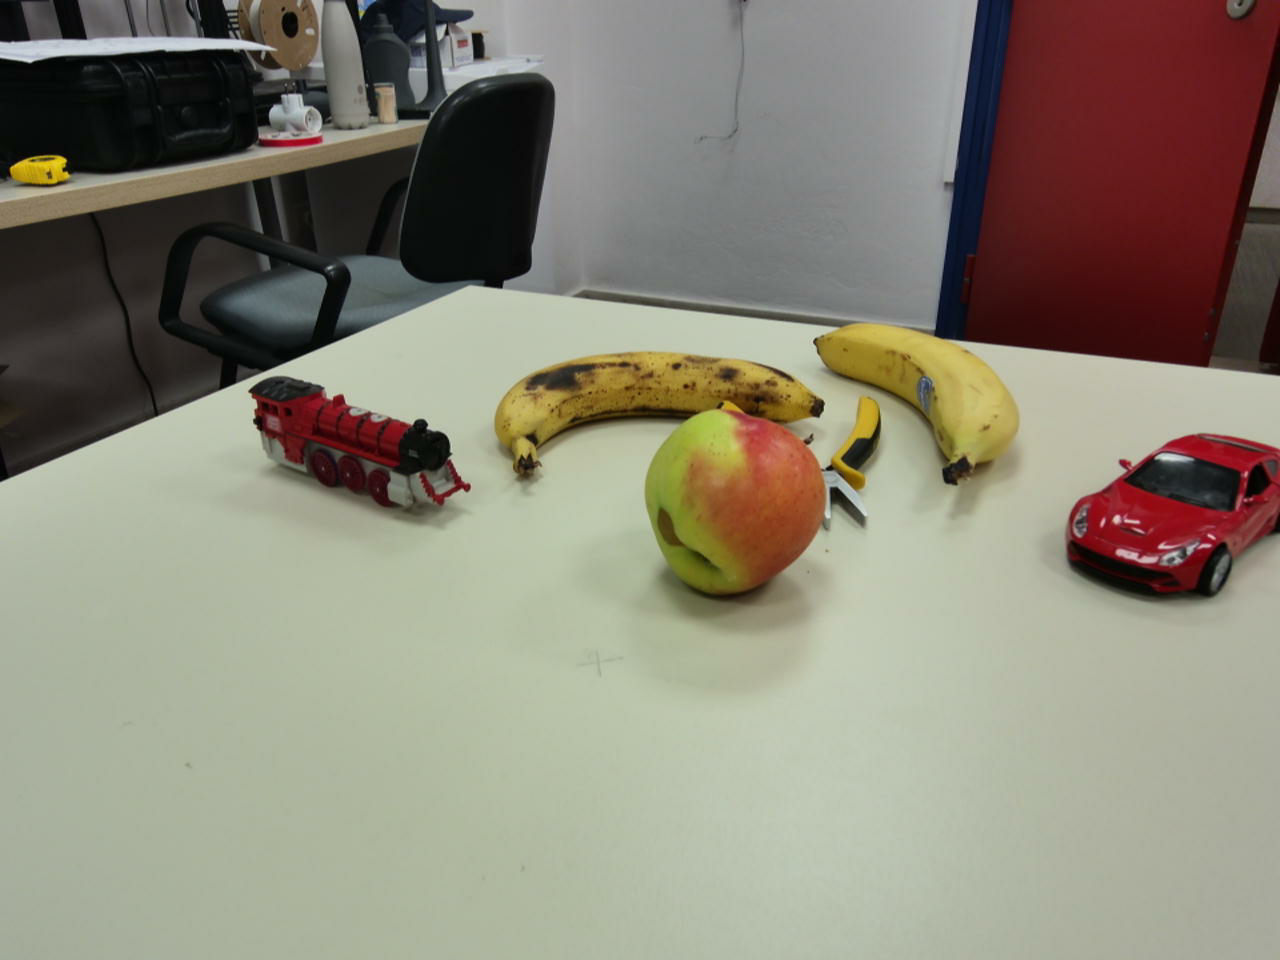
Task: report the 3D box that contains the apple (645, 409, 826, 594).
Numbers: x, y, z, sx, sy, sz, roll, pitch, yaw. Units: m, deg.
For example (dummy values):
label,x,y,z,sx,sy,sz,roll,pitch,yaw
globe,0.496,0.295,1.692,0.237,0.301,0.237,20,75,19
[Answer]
label,x,y,z,sx,sy,sz,roll,pitch,yaw
apple,0.038,0.010,0.418,0.075,0.074,0.075,2,23,6
